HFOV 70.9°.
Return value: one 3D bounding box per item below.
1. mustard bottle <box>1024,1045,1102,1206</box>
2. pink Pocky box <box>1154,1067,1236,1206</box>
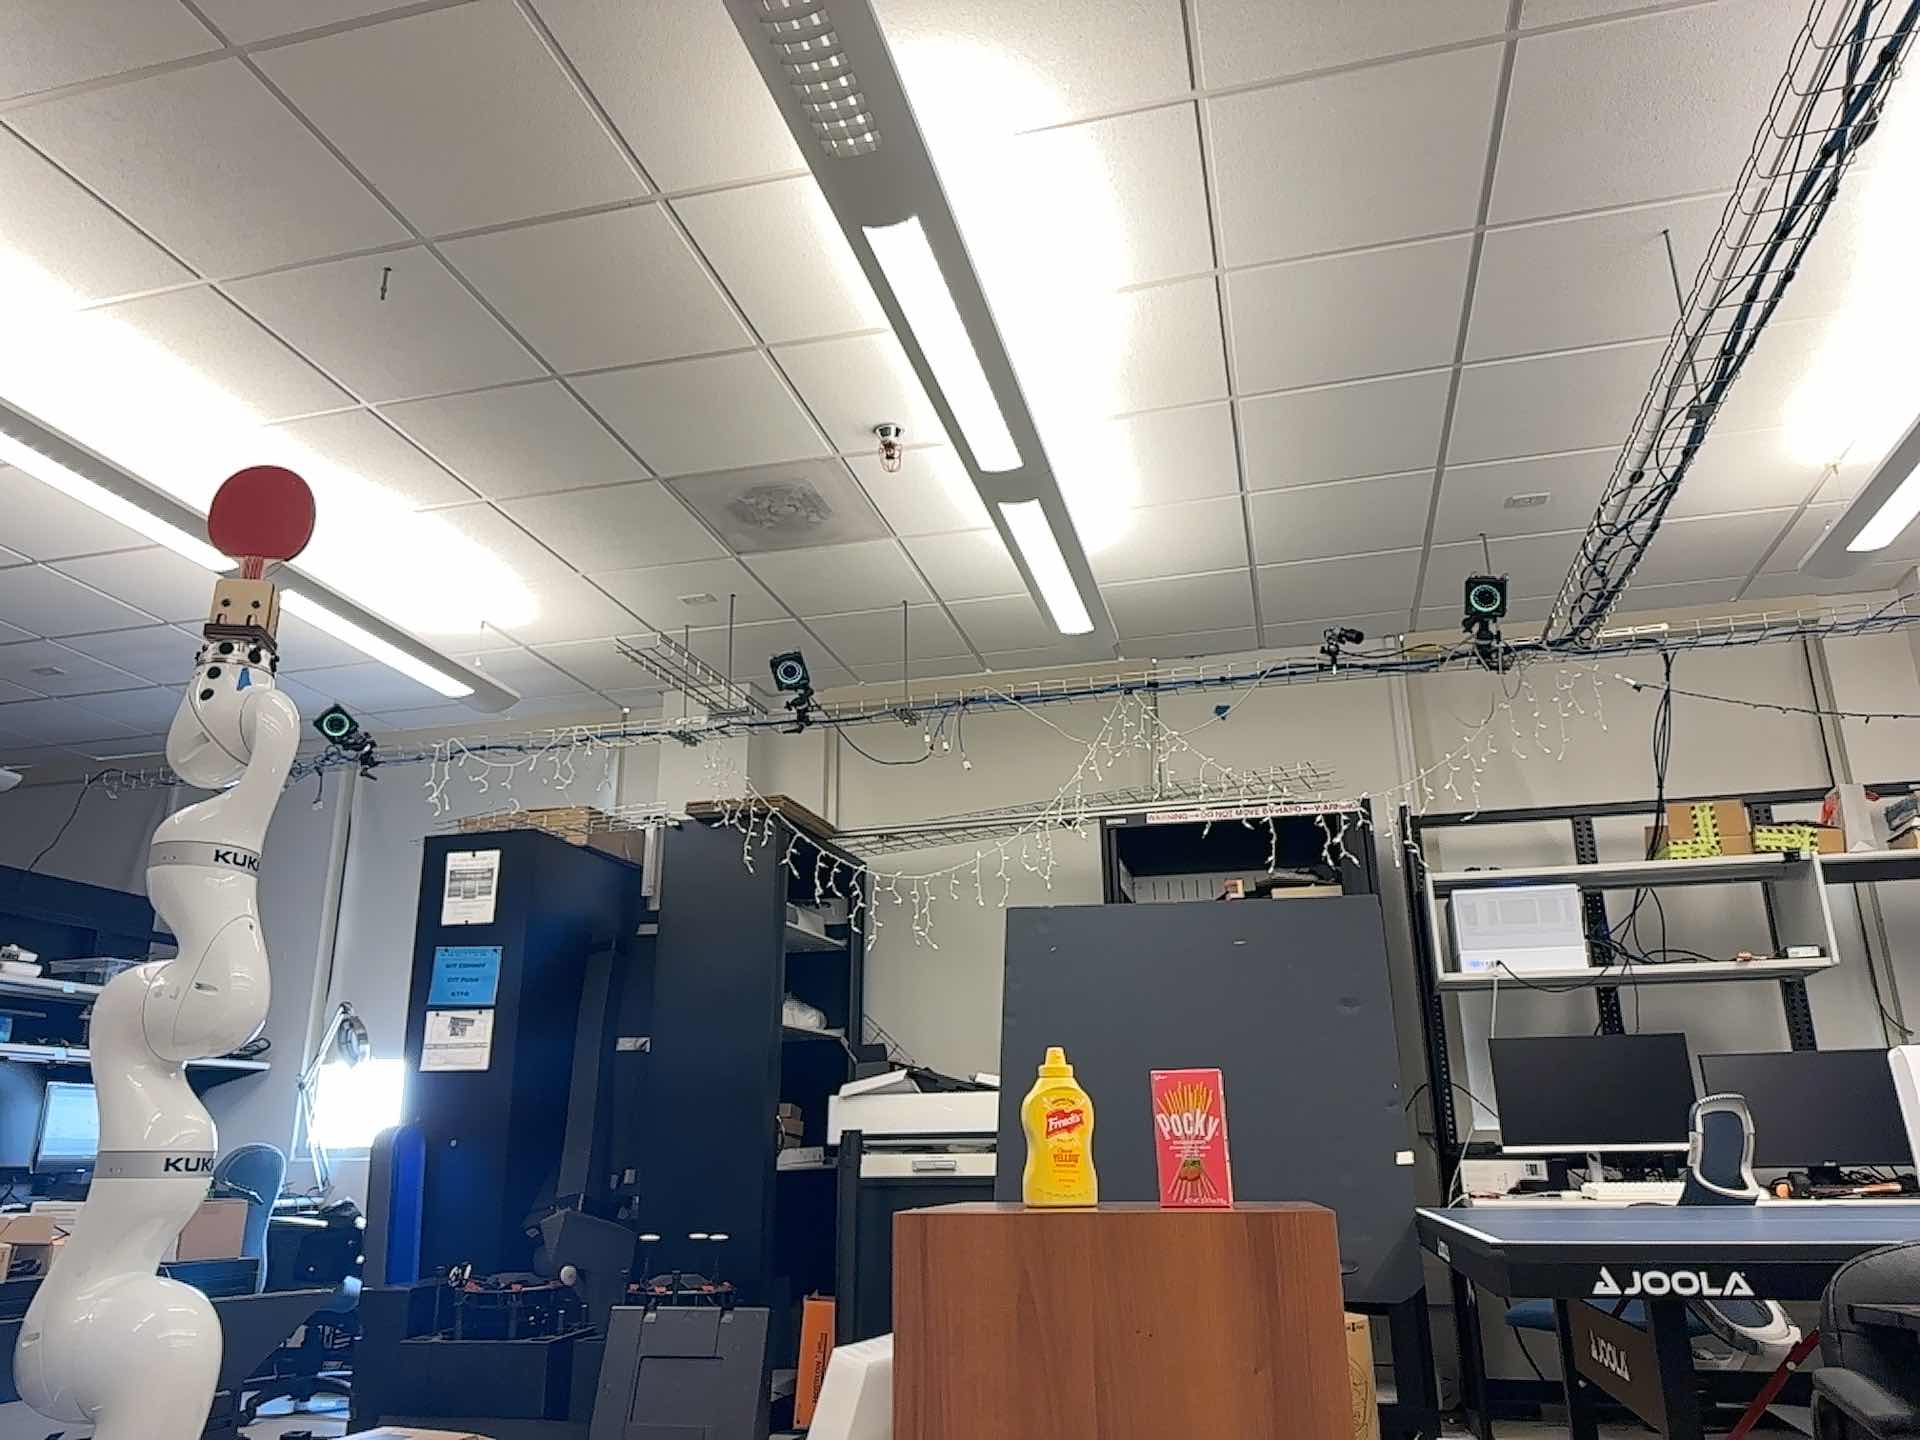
[{"bbox_3d":[0.120,0.484,1.618,0.092,0.184,0.054,4,-18,-13],"label":"mustard bottle"},{"bbox_3d":[0.276,0.491,1.592,0.084,0.154,0.029,-8,-20,20],"label":"pink Pocky box"}]
